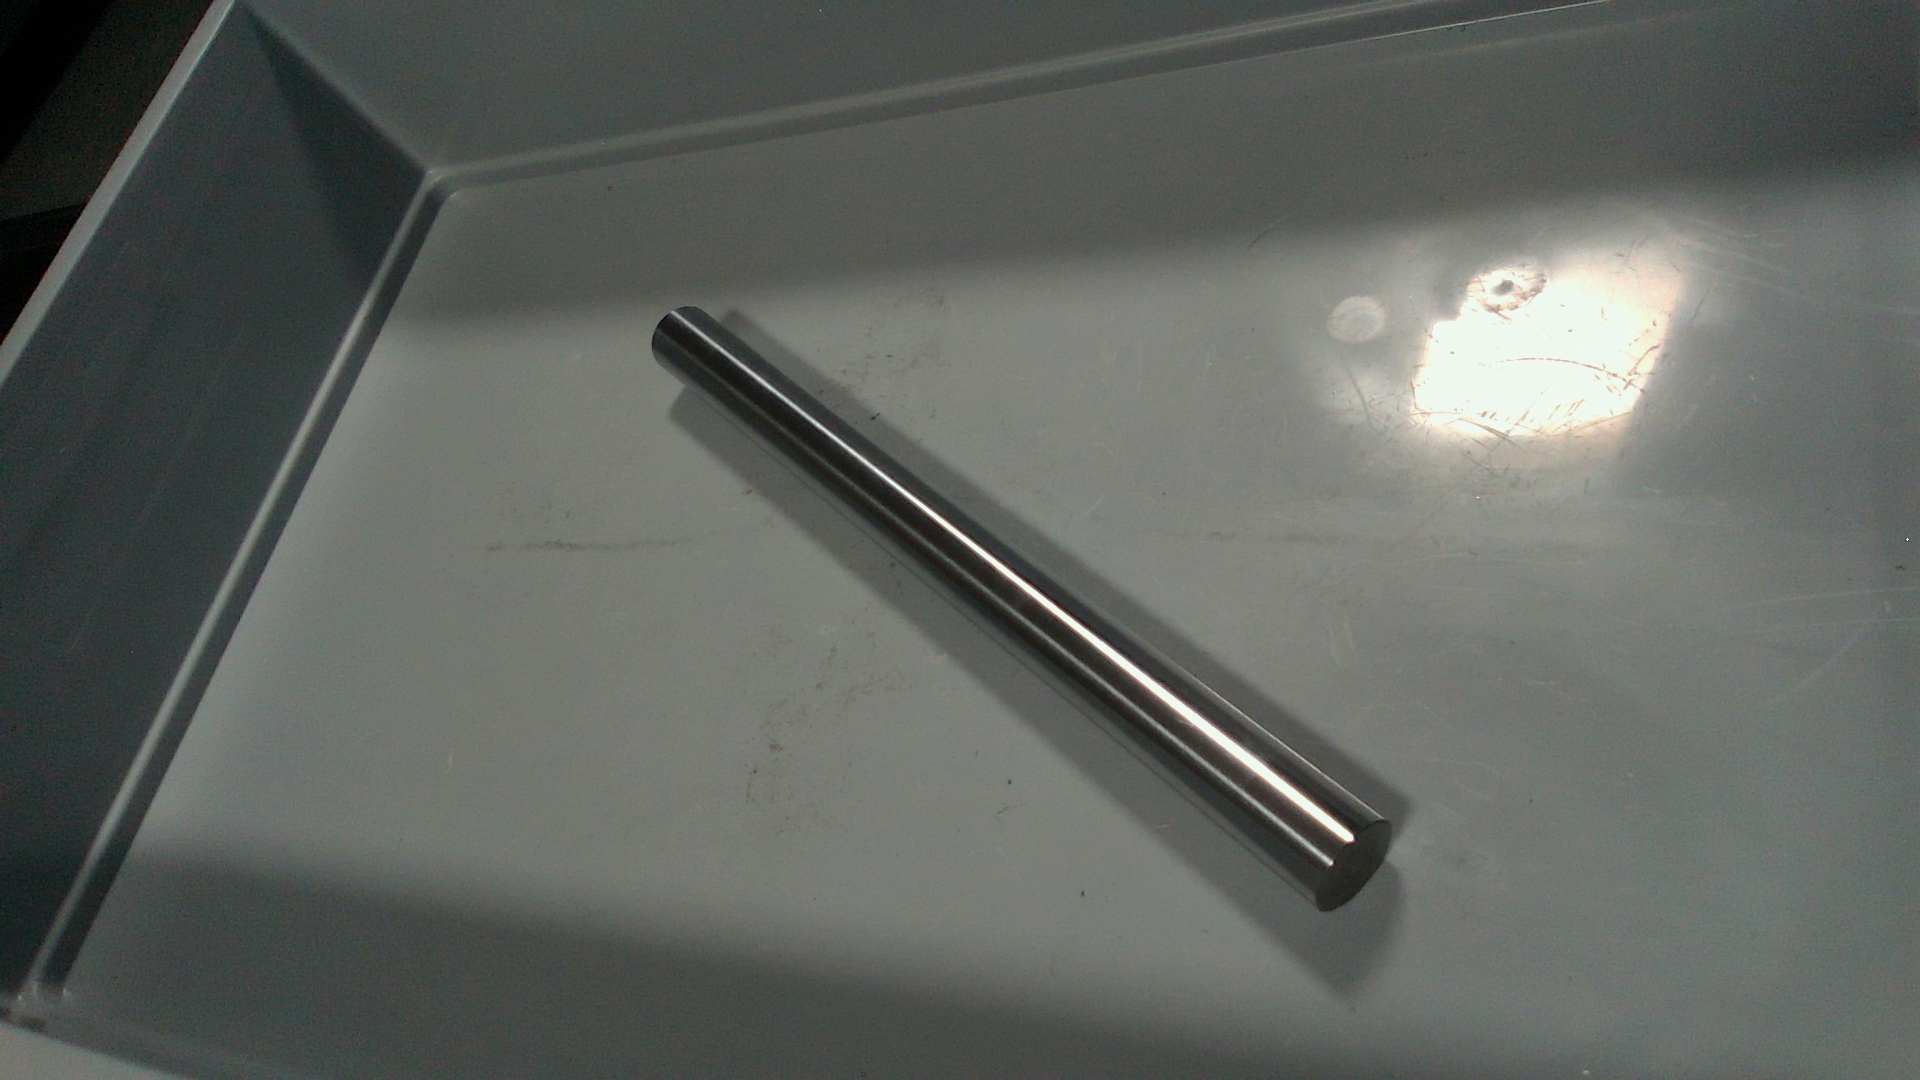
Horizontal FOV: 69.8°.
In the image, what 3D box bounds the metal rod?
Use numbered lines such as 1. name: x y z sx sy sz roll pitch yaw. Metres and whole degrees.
1. metal rod: -0.006 0.000 0.395 0.025 0.025 0.299 -48 51 -5
